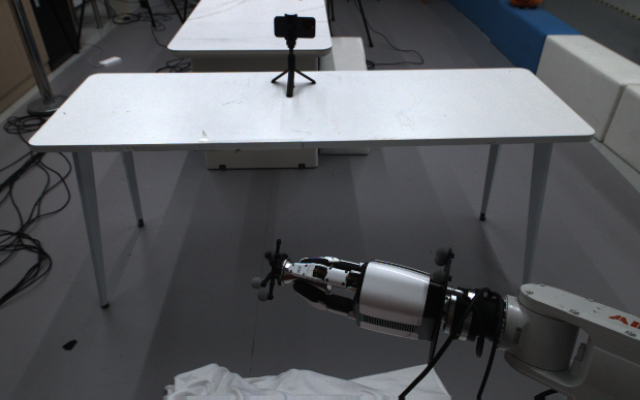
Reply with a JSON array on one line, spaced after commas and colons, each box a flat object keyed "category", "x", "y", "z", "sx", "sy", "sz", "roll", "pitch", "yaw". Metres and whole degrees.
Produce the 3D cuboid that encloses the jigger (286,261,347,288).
[{"category": "jigger", "x": -0.011, "y": 0.103, "z": 0.685, "sx": 0.071, "sy": 0.043, "sz": 0.043, "roll": 7, "pitch": 35, "yaw": 16}]
